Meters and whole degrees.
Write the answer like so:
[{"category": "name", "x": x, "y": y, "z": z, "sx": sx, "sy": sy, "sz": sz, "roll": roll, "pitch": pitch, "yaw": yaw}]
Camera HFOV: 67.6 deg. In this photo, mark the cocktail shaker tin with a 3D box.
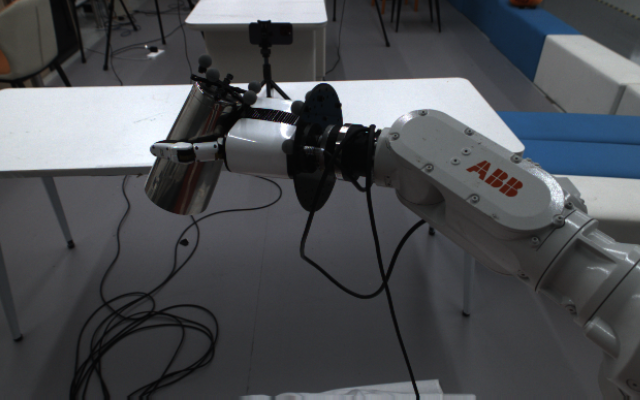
[{"category": "cocktail shaker tin", "x": -0.164, "y": -0.076, "z": 0.653, "sx": 0.093, "sy": 0.170, "sz": 0.093, "roll": 25, "pitch": 30, "yaw": -15}]
